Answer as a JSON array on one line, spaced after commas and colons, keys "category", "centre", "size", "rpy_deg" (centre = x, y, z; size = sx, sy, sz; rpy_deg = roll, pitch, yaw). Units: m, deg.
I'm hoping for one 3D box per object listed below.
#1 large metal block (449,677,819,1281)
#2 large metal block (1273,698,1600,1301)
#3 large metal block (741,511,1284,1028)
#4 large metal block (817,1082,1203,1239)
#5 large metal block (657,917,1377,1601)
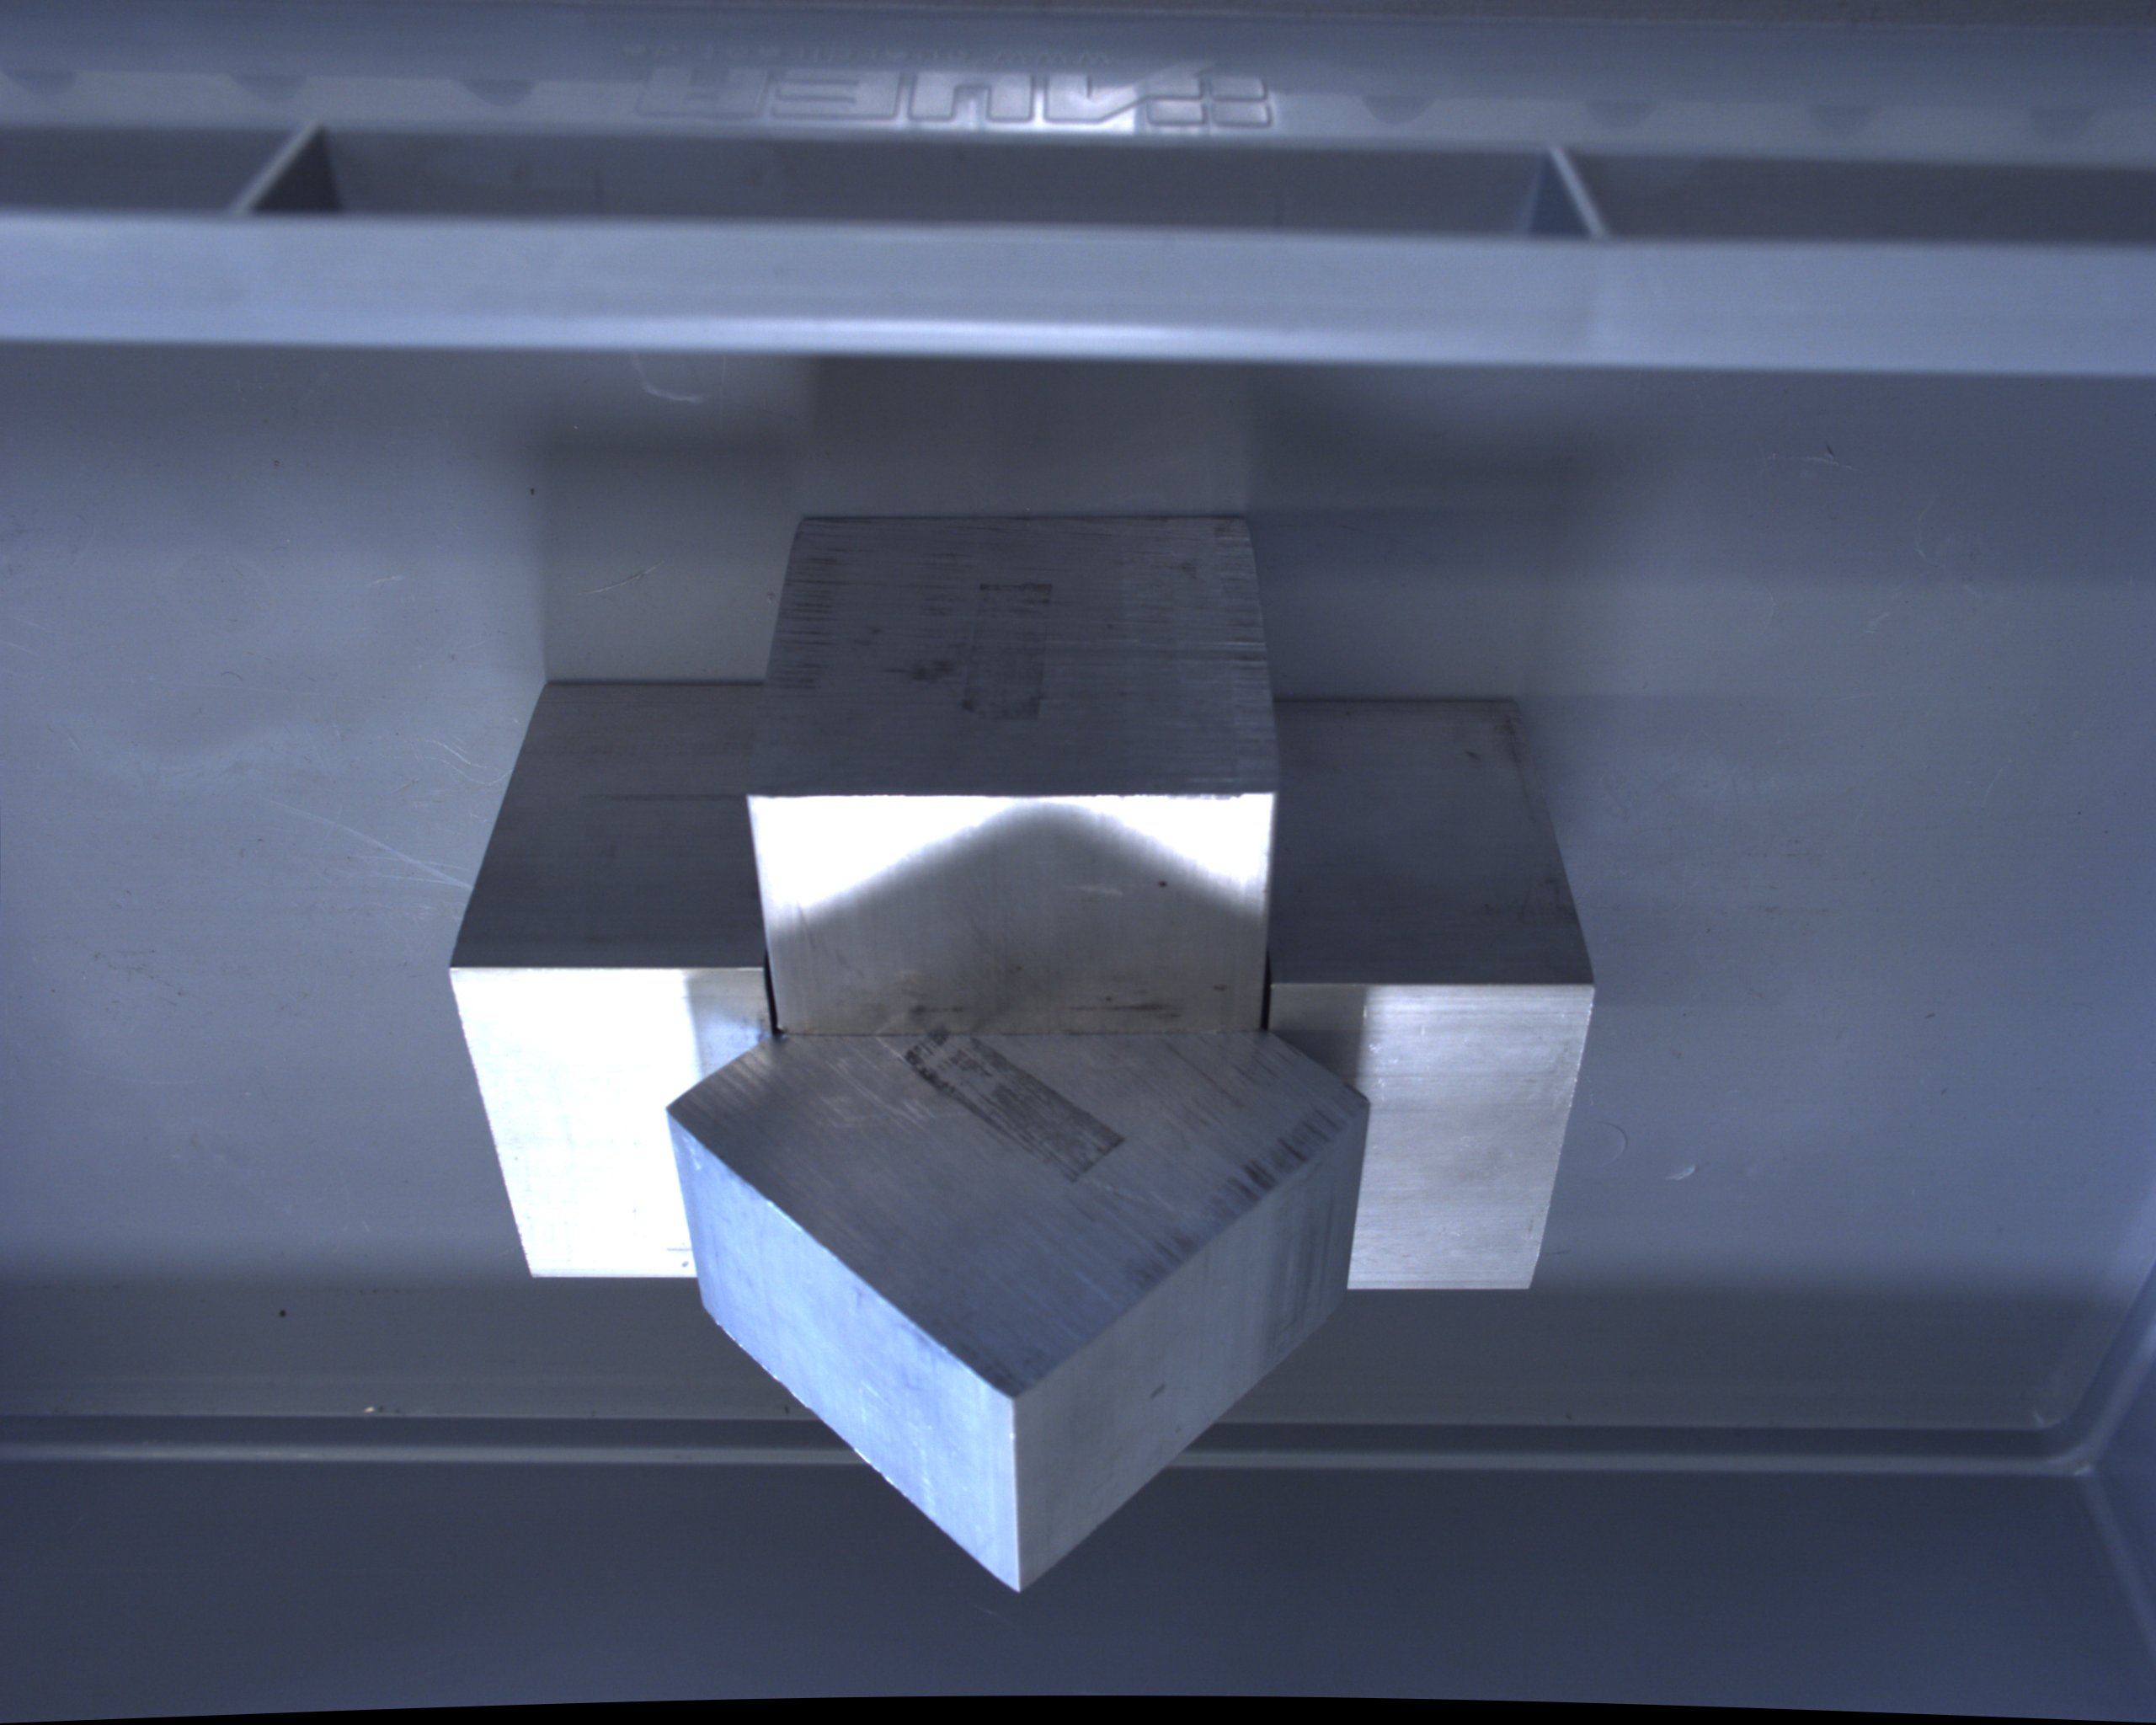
[{"category": "large metal block", "centre": [-0.075, 0.021, 0.389], "size": [0.050, 0.080, 0.079], "rpy_deg": [0, 130, 0]}, {"category": "large metal block", "centre": [0.058, 0.025, 0.390], "size": [0.050, 0.080, 0.079], "rpy_deg": [0, 130, -1]}, {"category": "large metal block", "centre": [-0.010, -0.018, 0.356], "size": [0.081, 0.080, 0.050], "rpy_deg": [0, 130, 0]}, {"category": "large metal block", "centre": [-0.009, 0.059, 0.421], "size": [0.081, 0.080, 0.050], "rpy_deg": [0, 130, 0]}, {"category": "large metal block", "centre": [-0.009, 0.057, 0.346], "size": [0.081, 0.080, 0.050], "rpy_deg": [-33, 140, -33]}]
